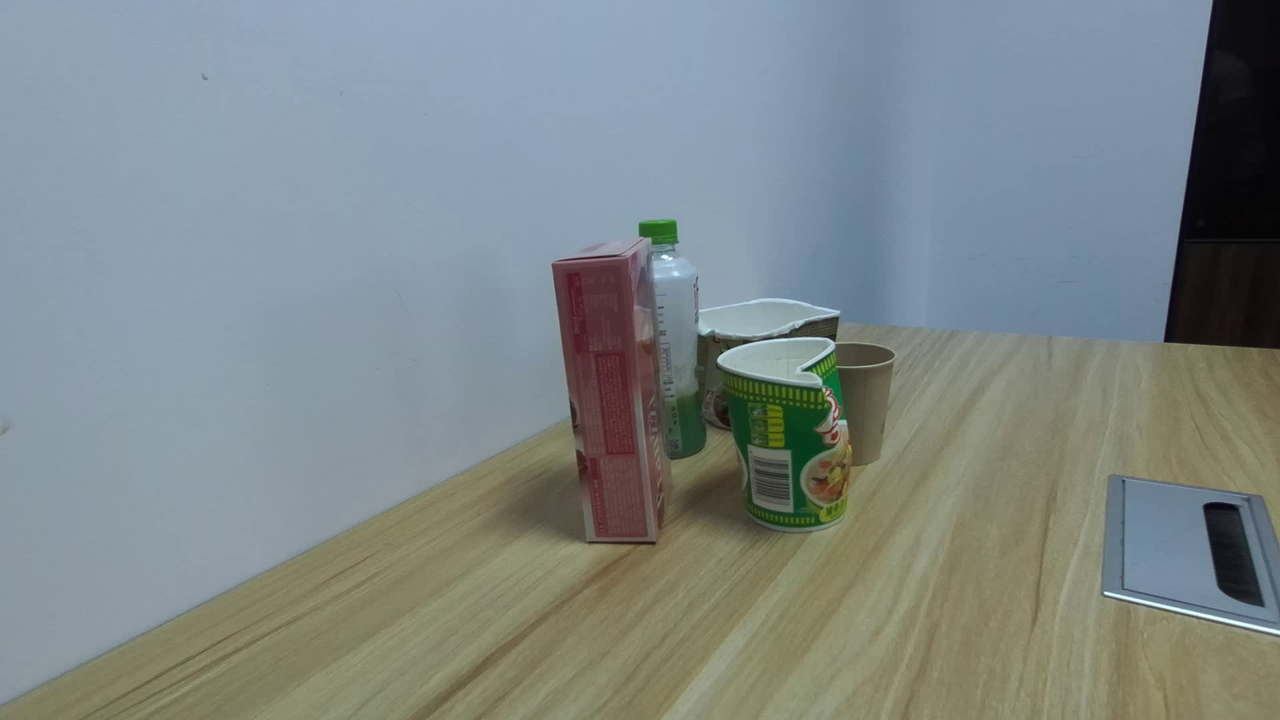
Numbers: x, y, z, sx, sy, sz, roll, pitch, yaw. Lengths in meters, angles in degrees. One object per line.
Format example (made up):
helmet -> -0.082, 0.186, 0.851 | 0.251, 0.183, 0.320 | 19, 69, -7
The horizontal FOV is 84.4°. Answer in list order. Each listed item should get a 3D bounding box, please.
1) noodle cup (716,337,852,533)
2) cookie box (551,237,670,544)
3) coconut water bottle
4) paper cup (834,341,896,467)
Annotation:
noodle cup -> 0.099, 0.048, 0.469 | 0.086, 0.109, 0.094 | 9, 21, 39
cookie box -> -0.013, 0.019, 0.473 | 0.048, 0.184, 0.096 | -3, 15, 10
coconut water bottle -> 0.020, -0.017, 0.579 | 0.063, 0.188, 0.063 | -3, 14, 1
paper cup -> 0.161, 0.035, 0.552 | 0.075, 0.082, 0.075 | -4, 16, 1
